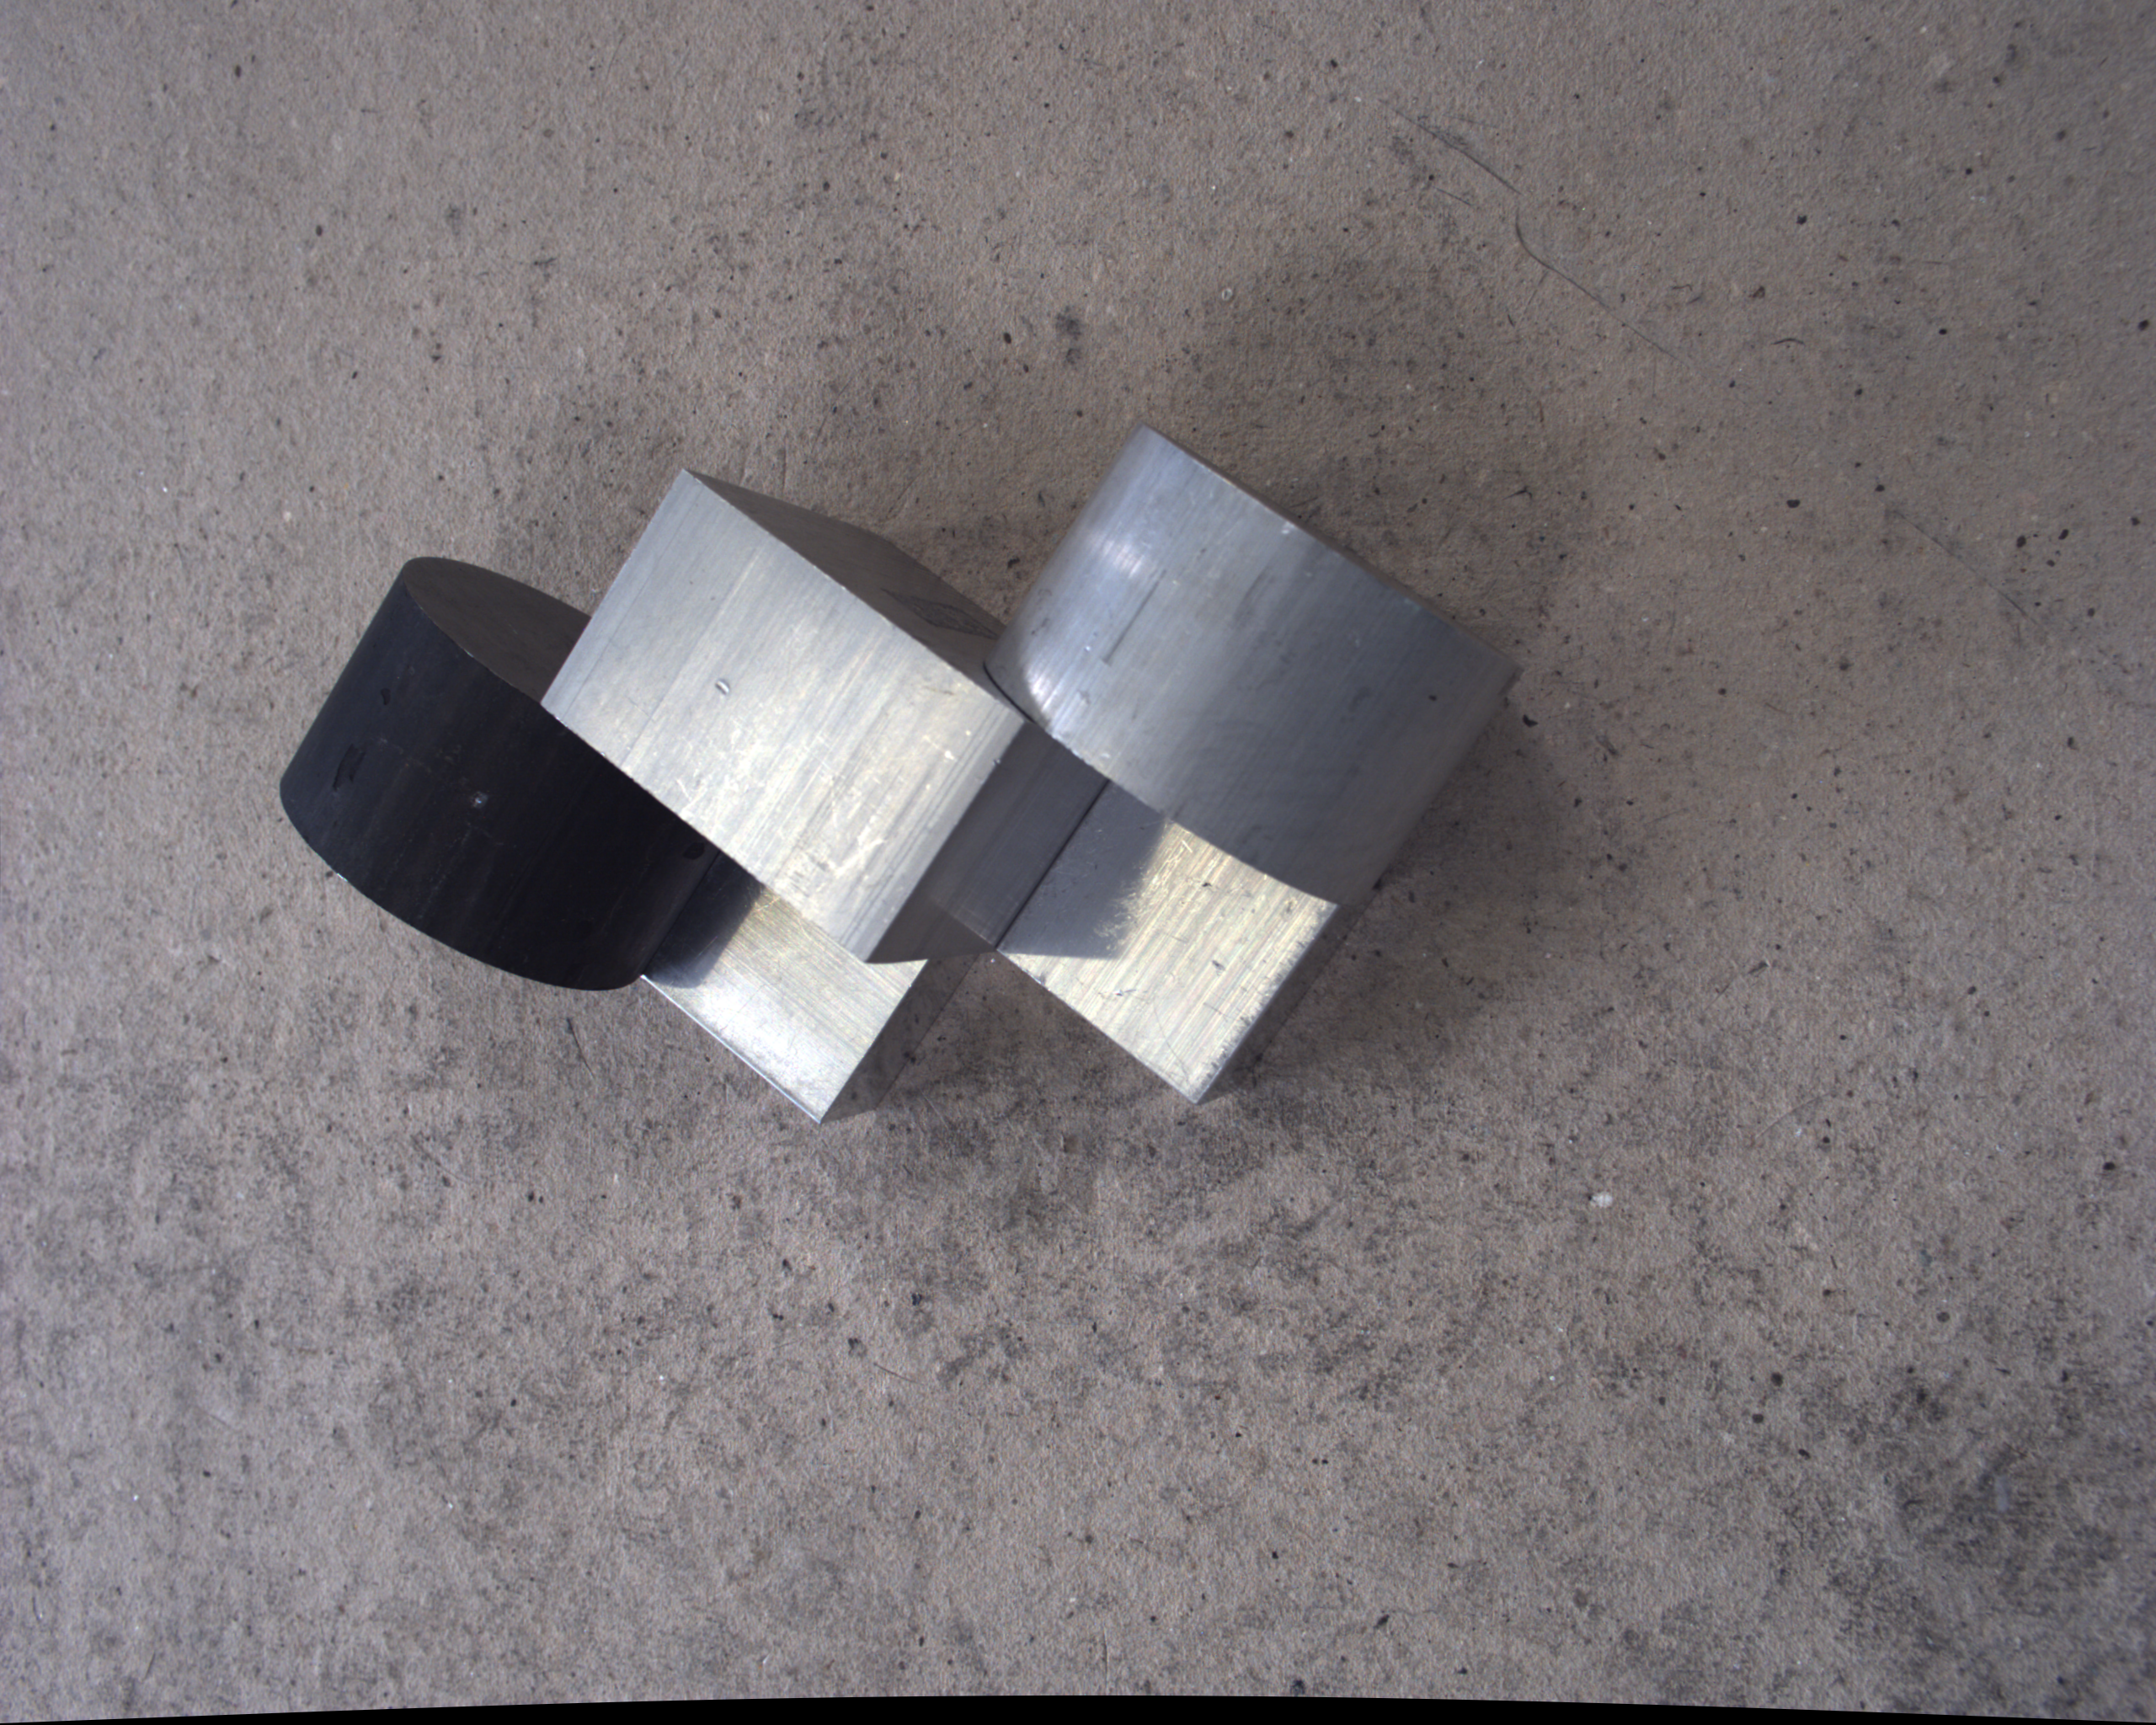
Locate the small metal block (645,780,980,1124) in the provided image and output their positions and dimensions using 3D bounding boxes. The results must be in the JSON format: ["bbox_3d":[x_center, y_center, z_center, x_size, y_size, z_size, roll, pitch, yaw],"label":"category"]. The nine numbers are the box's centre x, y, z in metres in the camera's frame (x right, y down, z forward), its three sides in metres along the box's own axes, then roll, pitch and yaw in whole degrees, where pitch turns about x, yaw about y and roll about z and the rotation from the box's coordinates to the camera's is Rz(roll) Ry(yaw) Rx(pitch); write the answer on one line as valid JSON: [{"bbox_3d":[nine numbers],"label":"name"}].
[{"bbox_3d":[-0.053,0.017,0.429,0.050,0.025,0.050,37,102,16],"label":"small metal block"}]

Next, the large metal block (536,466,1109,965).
[{"bbox_3d":[-0.039,-0.026,0.395,0.080,0.080,0.050,37,102,16],"label":"large metal block"}]

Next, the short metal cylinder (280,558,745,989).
[{"bbox_3d":[-0.110,-0.018,0.420,0.080,0.080,0.050,37,102,16],"label":"short metal cylinder"}]

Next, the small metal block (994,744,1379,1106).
[{"bbox_3d":[0.021,0.011,0.403,0.050,0.025,0.050,37,102,16],"label":"small metal block"}]

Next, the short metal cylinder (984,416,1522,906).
[{"bbox_3d":[0.031,-0.036,0.370,0.080,0.080,0.050,37,102,16],"label":"short metal cylinder"}]
